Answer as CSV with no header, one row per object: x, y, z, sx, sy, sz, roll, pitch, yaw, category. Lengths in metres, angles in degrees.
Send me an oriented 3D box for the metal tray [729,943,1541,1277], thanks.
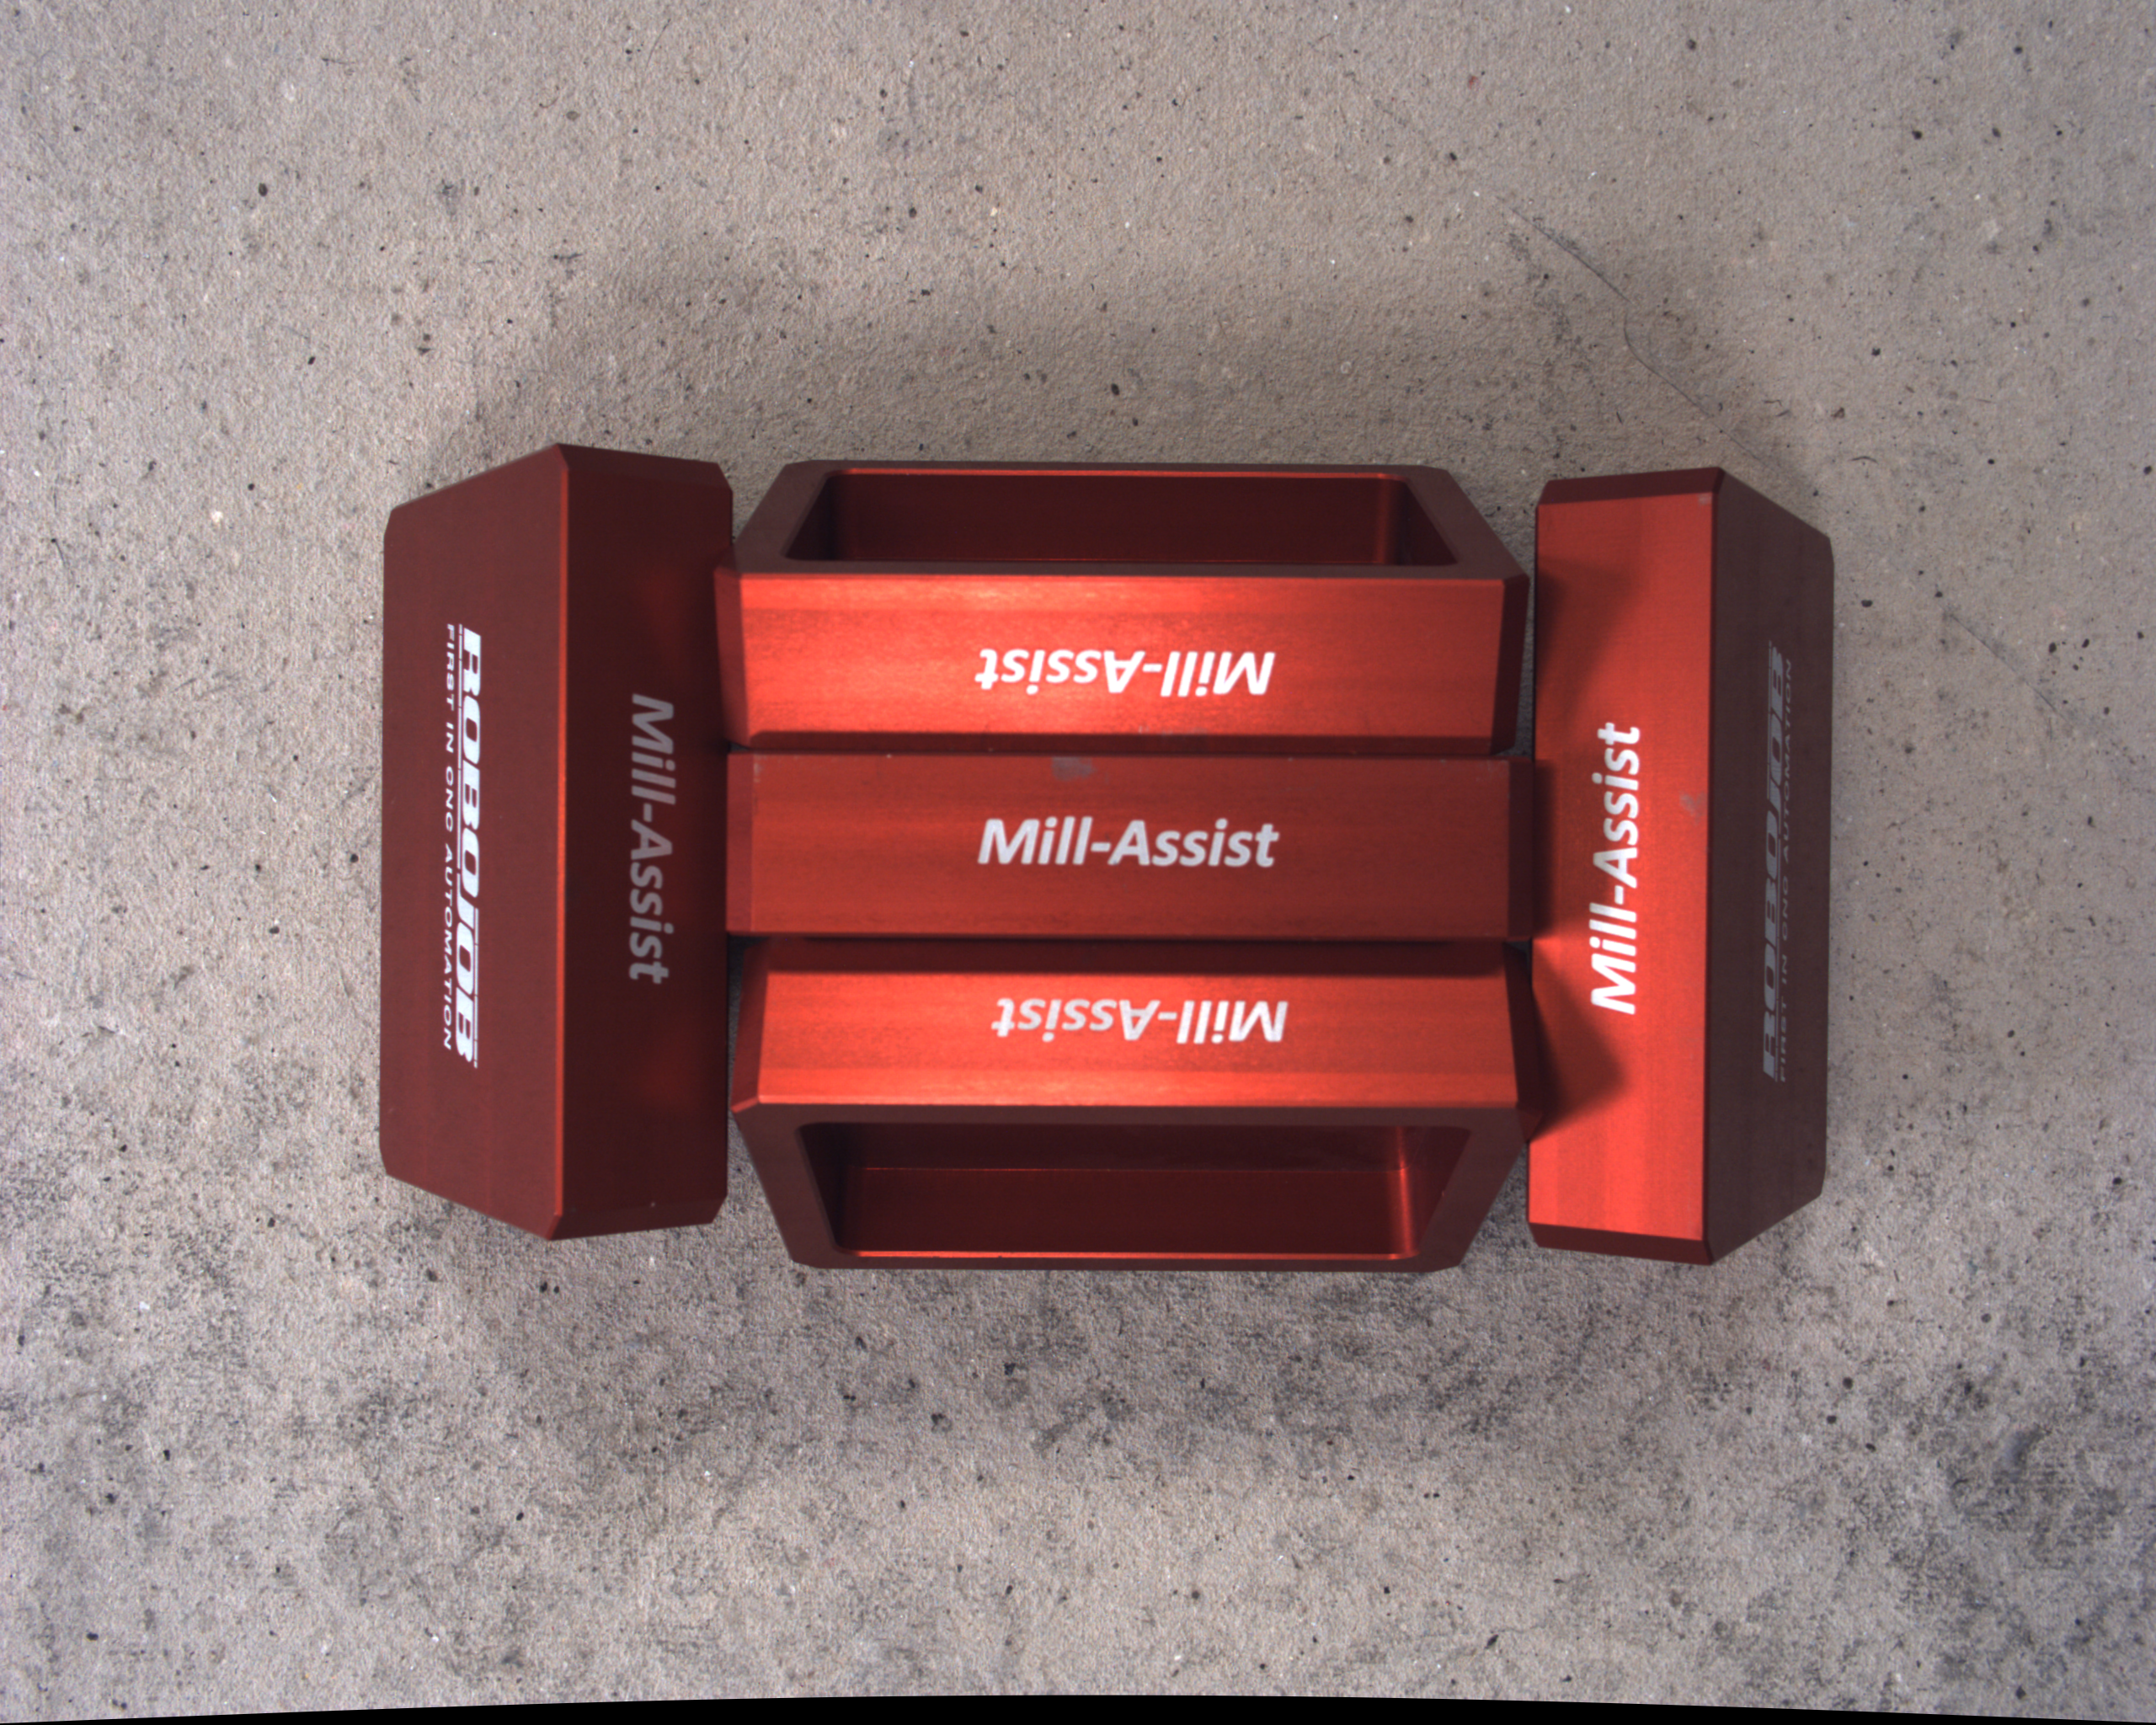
0.009,0.047,0.378,0.131,0.090,0.030,1,61,0,metal tray

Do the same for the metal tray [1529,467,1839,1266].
0.112,0.000,0.378,0.030,0.091,0.129,1,90,32,metal tray

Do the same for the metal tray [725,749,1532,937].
0.008,-0.003,0.378,0.131,0.090,0.030,0,90,-1,metal tray

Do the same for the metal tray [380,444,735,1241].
-0.097,-0.004,0.379,0.030,0.090,0.129,0,90,-37,metal tray

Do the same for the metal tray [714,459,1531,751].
0.007,-0.049,0.376,0.131,0.090,0.030,0,112,0,metal tray
